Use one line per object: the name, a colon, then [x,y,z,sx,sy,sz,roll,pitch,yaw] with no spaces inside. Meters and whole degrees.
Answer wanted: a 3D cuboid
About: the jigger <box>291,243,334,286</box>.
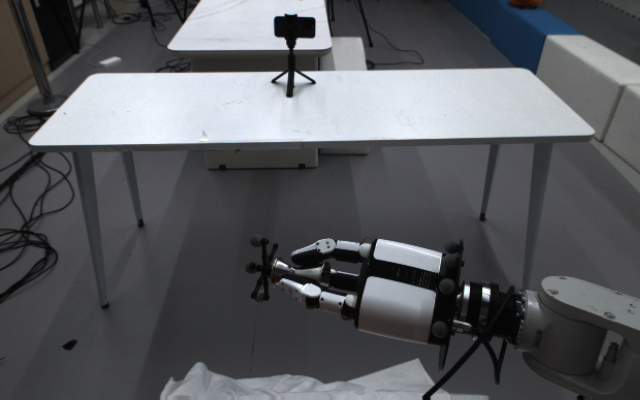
jigger: [-0.018,0.094,0.629,0.071,0.043,0.043,5,34,18]
